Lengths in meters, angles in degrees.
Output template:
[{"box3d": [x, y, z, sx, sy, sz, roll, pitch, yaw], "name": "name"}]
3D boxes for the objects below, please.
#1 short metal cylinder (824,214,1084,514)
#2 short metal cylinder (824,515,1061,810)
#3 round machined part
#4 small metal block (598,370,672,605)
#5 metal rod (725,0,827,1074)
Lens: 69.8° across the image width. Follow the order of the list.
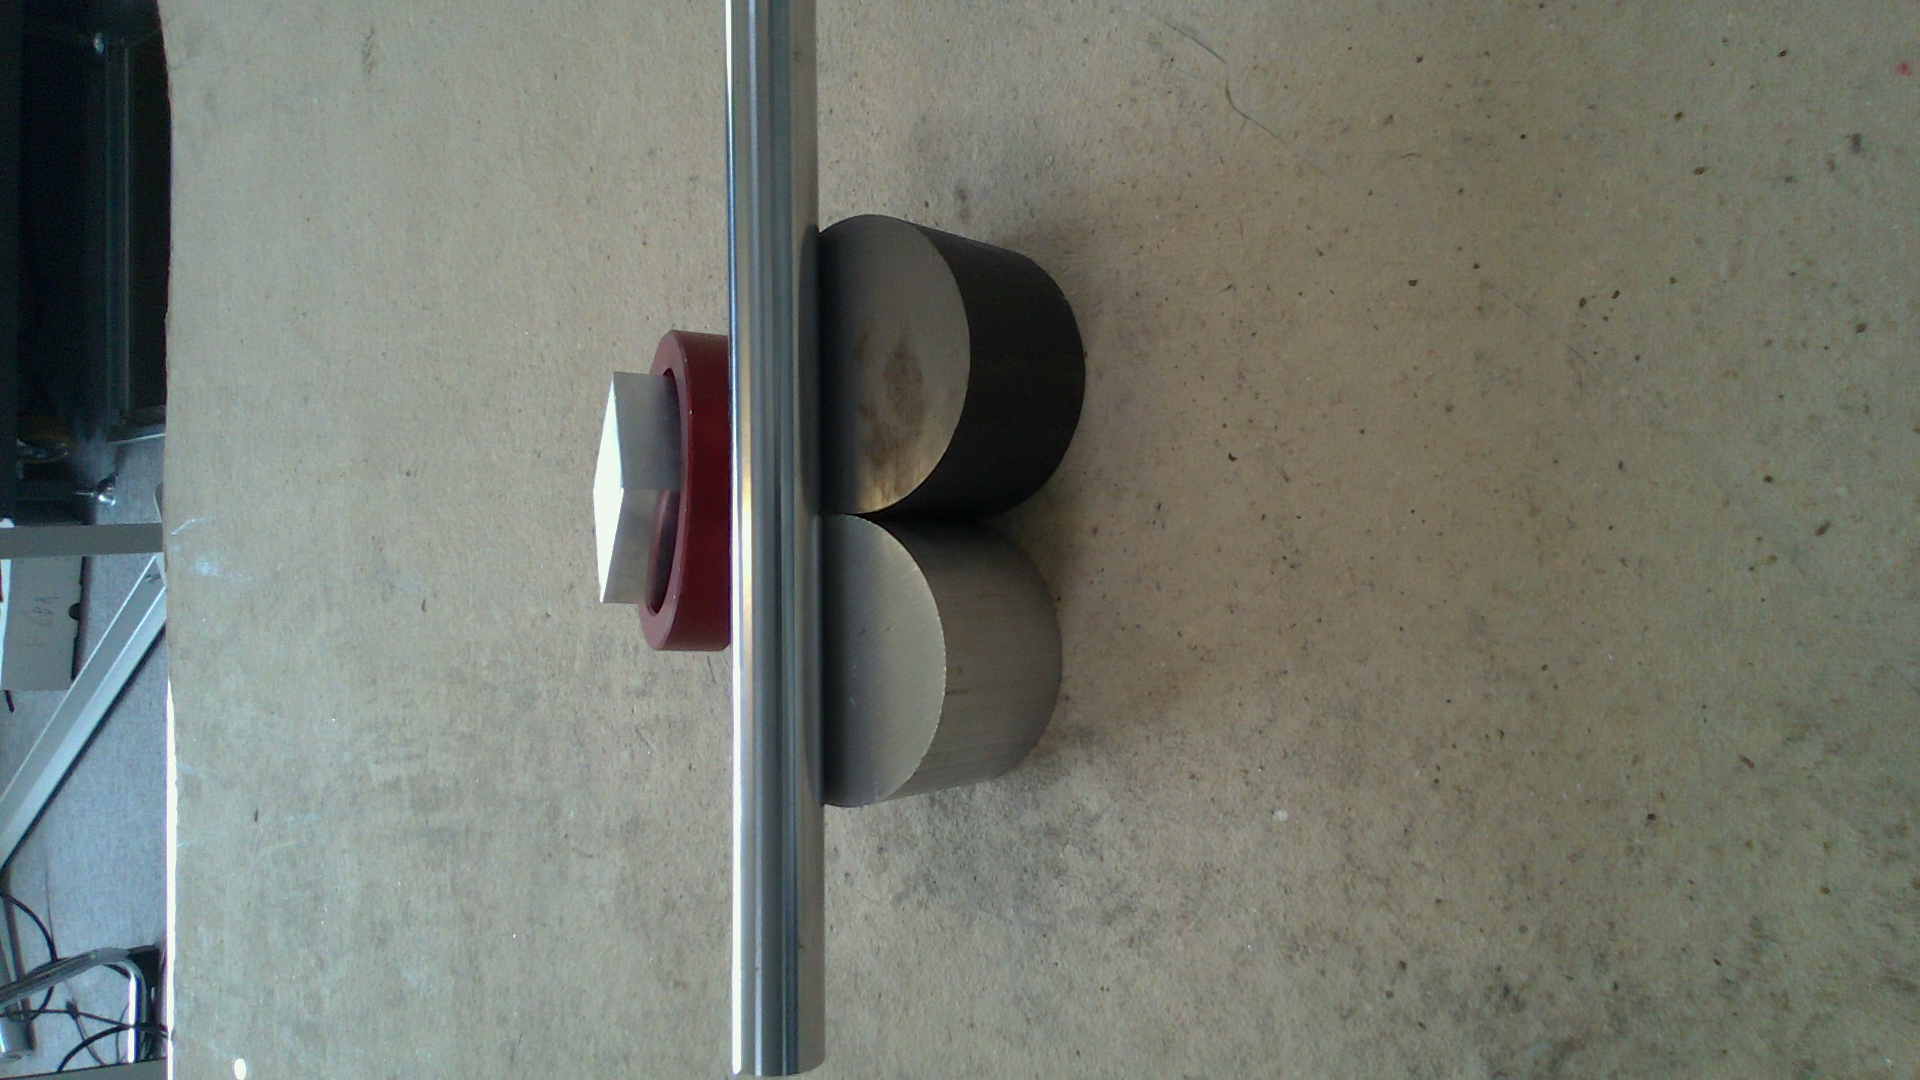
[{"box3d": [-0.012, -0.047, 0.389, 0.080, 0.050, 0.080, 0, 90, 40], "name": "short metal cylinder"}, {"box3d": [-0.018, 0.033, 0.393, 0.080, 0.050, 0.080, -1, 88, 40], "name": "short metal cylinder"}, {"box3d": [-0.073, -0.015, 0.429, 0.098, 0.042, 0.098, -177, 90, -69], "name": "round machined part"}, {"box3d": [-0.095, -0.016, 0.422, 0.050, 0.025, 0.050, 113, 151, -42], "name": "small metal block"}, {"box3d": [-0.050, -0.011, 0.372, 0.025, 0.025, 0.300, -1, 89, 40], "name": "metal rod"}]
